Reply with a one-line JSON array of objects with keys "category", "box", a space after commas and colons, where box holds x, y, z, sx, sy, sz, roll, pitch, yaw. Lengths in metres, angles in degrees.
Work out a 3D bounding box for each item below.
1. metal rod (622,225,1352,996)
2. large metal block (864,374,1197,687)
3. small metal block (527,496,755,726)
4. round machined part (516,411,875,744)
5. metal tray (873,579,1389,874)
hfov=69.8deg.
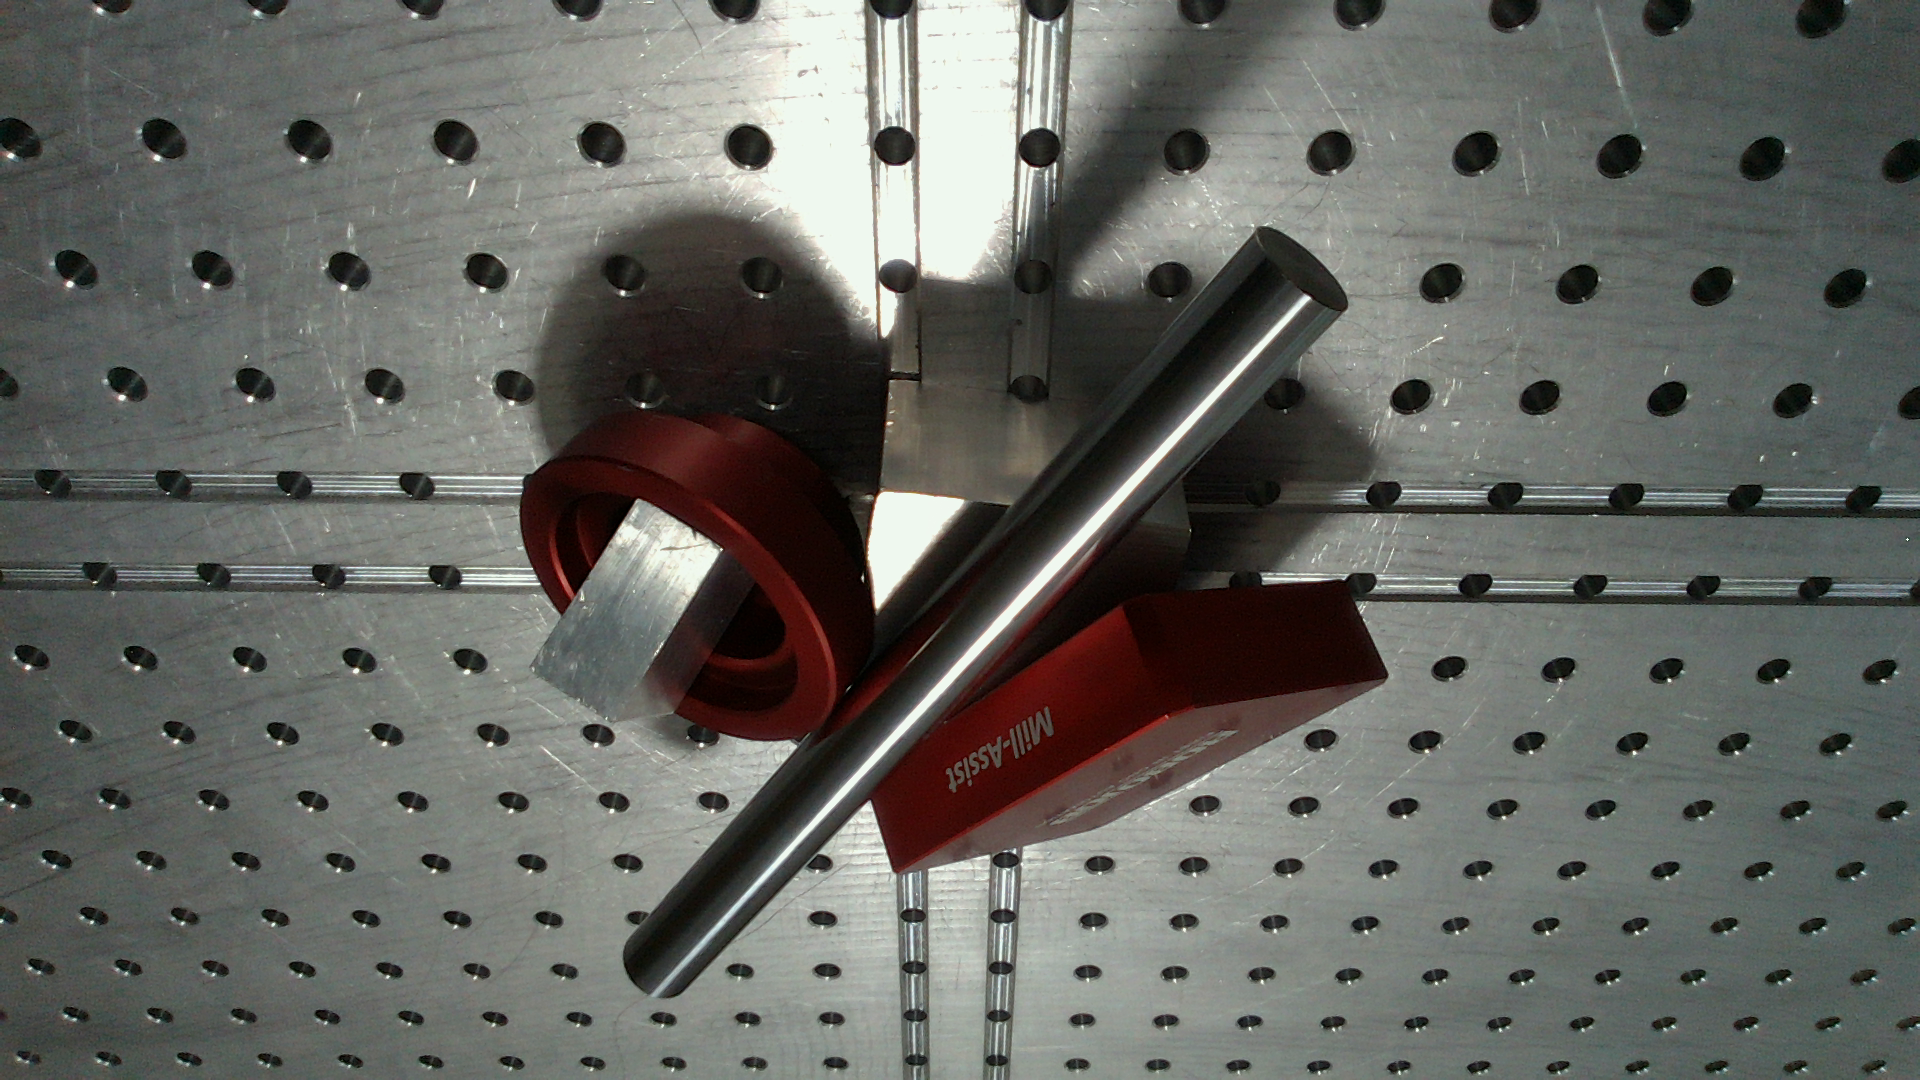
[{"category": "metal rod", "box": [-0.013, 0.039, 0.361, 0.025, 0.025, 0.299, 27, 125, -21]}, {"category": "large metal block", "box": [0.013, 0.006, 0.382, 0.080, 0.050, 0.080, 7, 130, -6]}, {"category": "small metal block", "box": [-0.079, 0.019, 0.356, 0.025, 0.050, 0.050, 32, 88, 6]}, {"category": "round machined part", "box": [-0.066, 0.006, 0.370, 0.098, 0.042, 0.098, 18, 136, 18]}, {"category": "metal tray", "box": [0.044, 0.055, 0.393, 0.090, 0.030, 0.130, -2, 154, -41]}]
